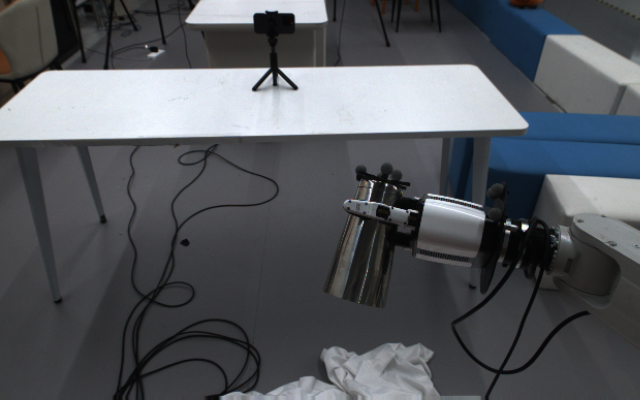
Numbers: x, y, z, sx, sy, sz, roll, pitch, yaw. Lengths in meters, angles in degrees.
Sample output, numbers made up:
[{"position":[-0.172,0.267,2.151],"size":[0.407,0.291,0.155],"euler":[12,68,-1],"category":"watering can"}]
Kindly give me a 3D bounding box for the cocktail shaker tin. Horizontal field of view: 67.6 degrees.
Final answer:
[{"position":[0.071,0.058,0.707],"size":[0.093,0.170,0.093],"euler":[15,-5,1],"category":"cocktail shaker tin"}]
